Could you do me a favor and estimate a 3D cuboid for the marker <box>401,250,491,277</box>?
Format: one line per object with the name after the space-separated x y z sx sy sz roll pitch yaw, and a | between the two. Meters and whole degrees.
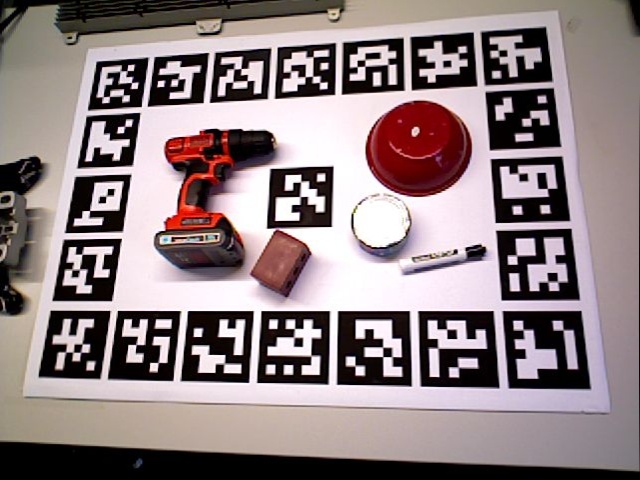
0.173 0.032 0.746 0.121 0.020 0.019 -10 72 5 | marker

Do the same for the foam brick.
-0.055 0.040 0.771 0.051 0.053 0.077 24 78 13 | foam brick

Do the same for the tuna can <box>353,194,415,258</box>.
0.090 -0.019 0.768 0.085 0.034 0.085 -2 72 6 | tuna can

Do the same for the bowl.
0.144 -0.142 0.799 0.162 0.056 0.160 -5 65 10 | bowl

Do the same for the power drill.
-0.166 -0.068 0.817 0.184 0.058 0.185 -1 70 5 | power drill
